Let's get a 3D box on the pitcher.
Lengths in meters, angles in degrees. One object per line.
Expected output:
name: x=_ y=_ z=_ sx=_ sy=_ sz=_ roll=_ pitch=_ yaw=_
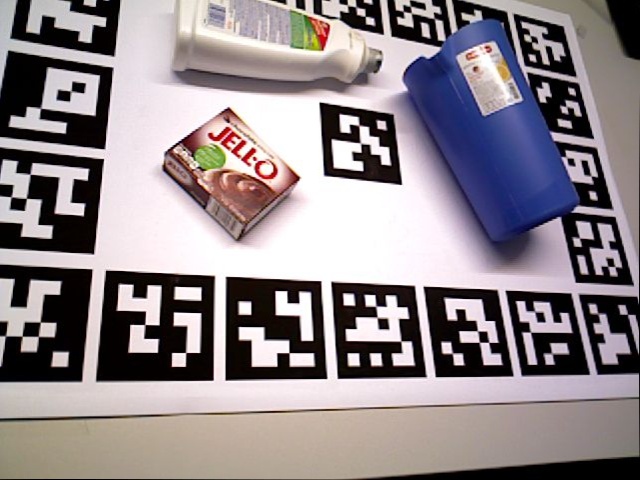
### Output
pitcher: x=0.210 y=-0.114 z=0.660 sx=0.185 sy=0.135 sz=0.243 roll=-13 pitch=78 yaw=-61

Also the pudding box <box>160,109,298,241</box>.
pudding box: x=-0.092 y=-0.068 z=0.555 sx=0.114 sy=0.039 sz=0.088 roll=47 pitch=56 yaw=-1

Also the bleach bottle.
bleach bottle: x=-0.044 y=-0.228 z=0.626 sx=0.247 sy=0.069 sz=0.102 roll=2 pitch=74 yaw=-22
